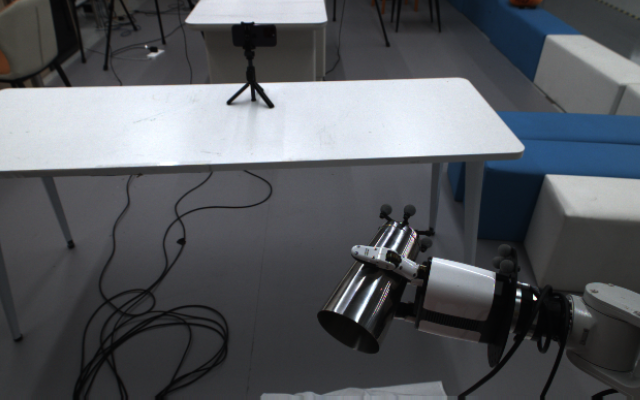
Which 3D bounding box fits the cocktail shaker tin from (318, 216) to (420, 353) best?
[{"bbox_3d":[0.079,0.107,0.663,0.093,0.093,0.170,19,54,23],"label":"cocktail shaker tin"}]
